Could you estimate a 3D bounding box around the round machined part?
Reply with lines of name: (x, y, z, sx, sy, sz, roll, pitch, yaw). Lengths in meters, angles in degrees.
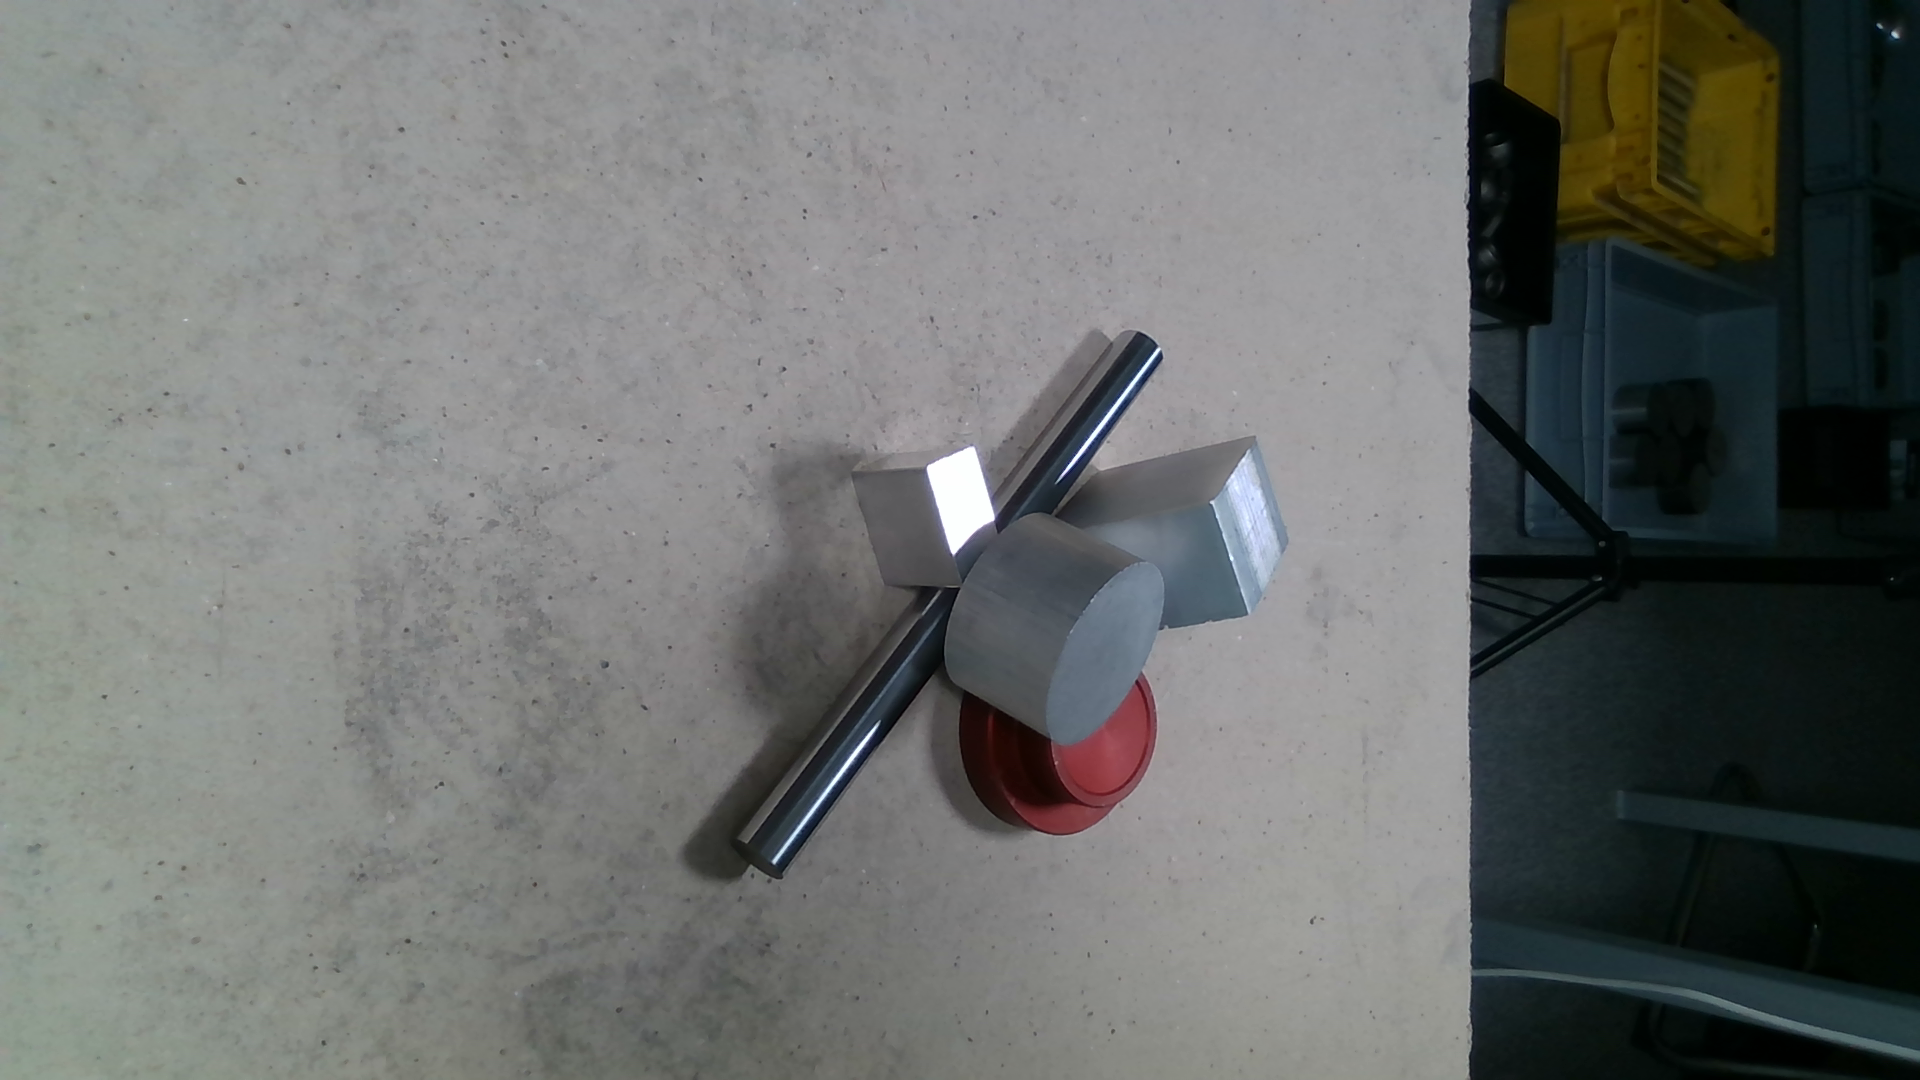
round machined part: (0.050, 0.083, 0.614, 0.098, 0.042, 0.098, 0, 90, -40)

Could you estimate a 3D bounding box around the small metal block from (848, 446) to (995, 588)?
small metal block: (-0.014, -0.009, 0.556, 0.025, 0.050, 0.050, -28, 108, -38)

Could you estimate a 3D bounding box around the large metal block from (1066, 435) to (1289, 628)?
large metal block: (0.092, -0.001, 0.611, 0.080, 0.080, 0.050, -46, 118, -56)

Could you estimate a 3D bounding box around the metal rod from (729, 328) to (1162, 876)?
metal rod: (0.004, 0.014, 0.587, 0.299, 0.025, 0.025, -52, 121, -27)

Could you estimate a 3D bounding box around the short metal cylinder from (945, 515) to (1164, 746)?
short metal cylinder: (0.039, 0.035, 0.551, 0.080, 0.050, 0.080, -37, 141, -38)
